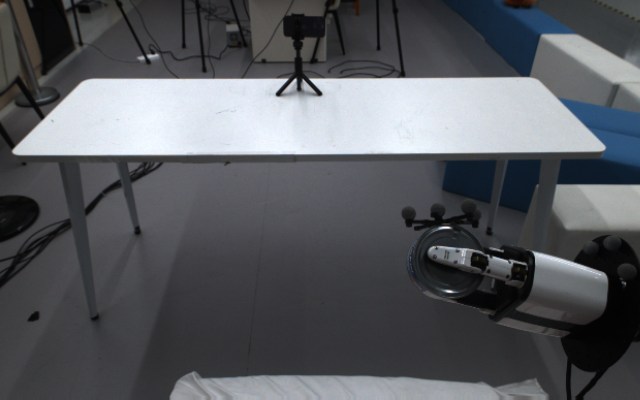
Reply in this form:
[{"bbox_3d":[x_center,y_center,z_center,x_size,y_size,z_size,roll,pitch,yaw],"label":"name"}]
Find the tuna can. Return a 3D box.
[{"bbox_3d":[0.149,0.070,0.565,0.085,0.034,0.085,1,73,-4],"label":"tuna can"}]
